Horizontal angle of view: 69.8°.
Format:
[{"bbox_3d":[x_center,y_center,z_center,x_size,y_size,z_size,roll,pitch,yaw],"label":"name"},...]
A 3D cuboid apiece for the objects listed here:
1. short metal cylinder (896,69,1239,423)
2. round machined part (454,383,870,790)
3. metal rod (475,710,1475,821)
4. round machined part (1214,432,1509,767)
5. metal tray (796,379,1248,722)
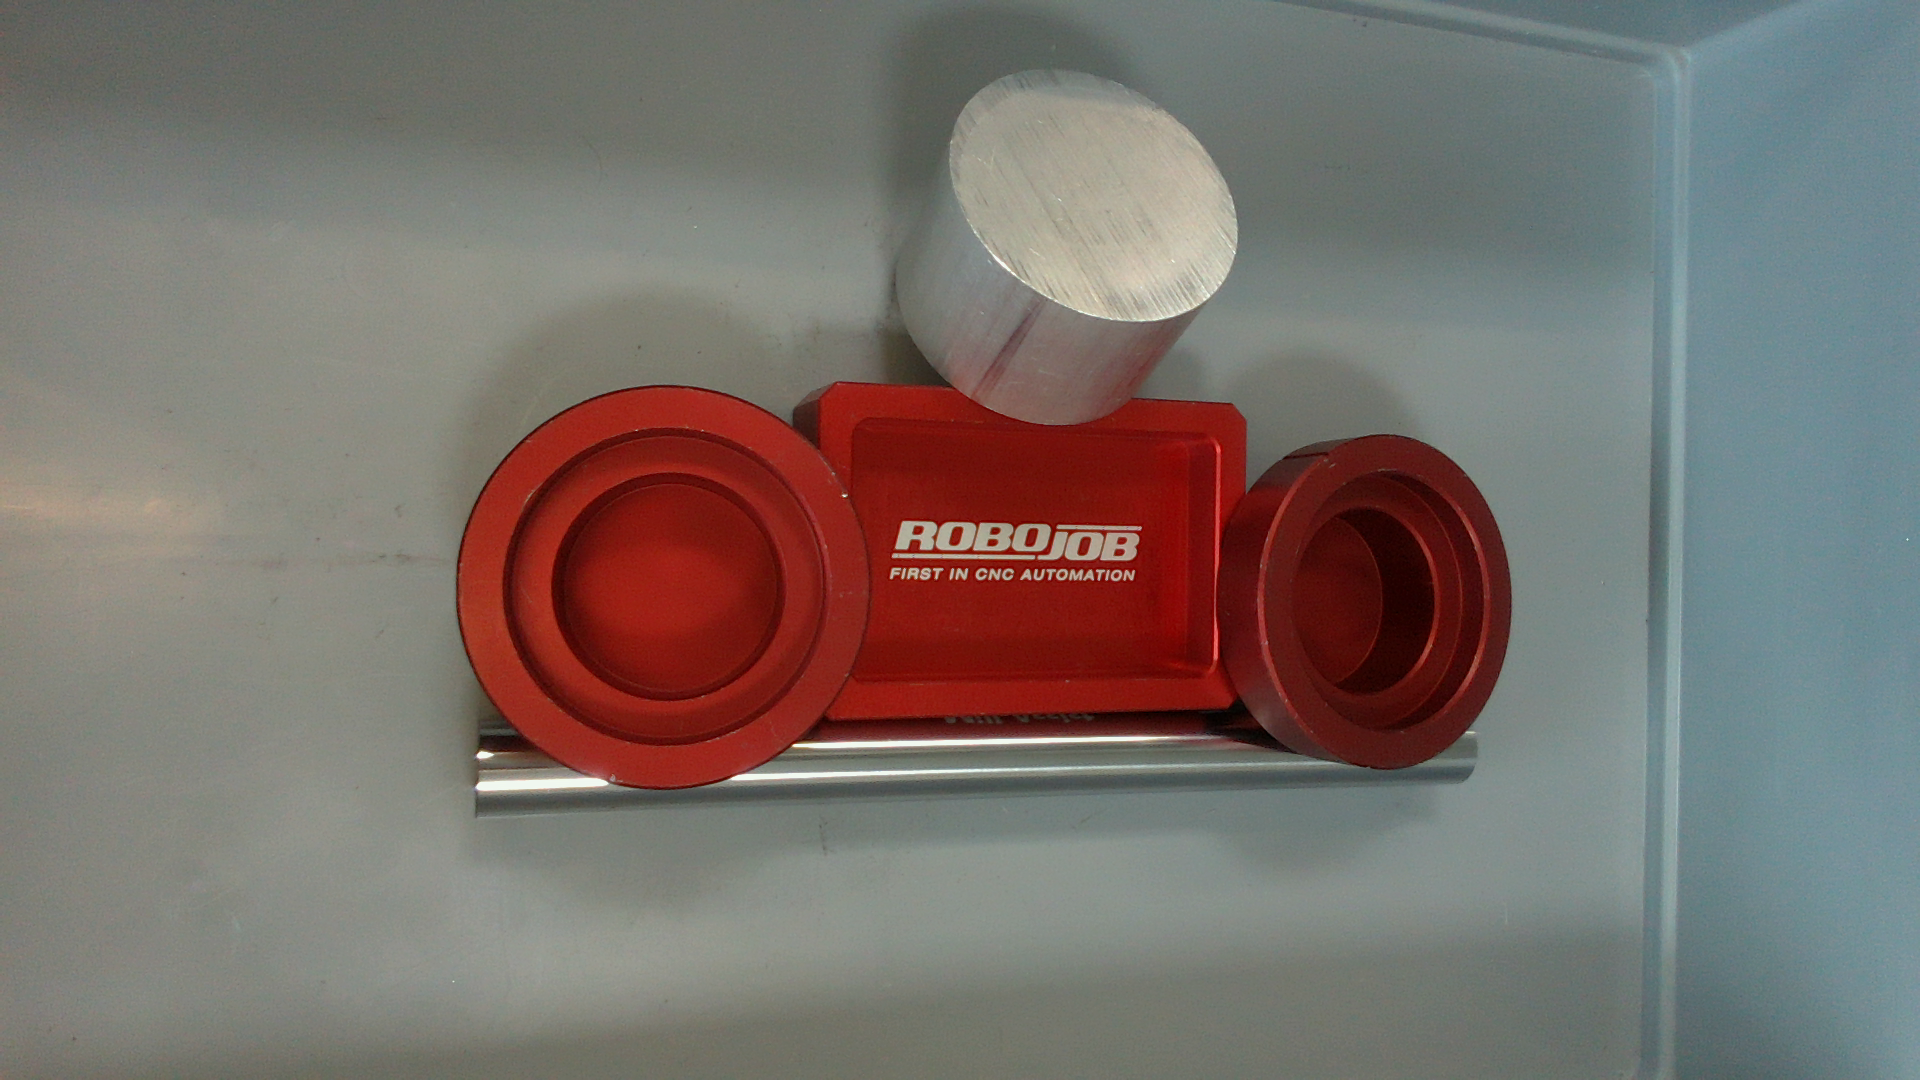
[{"bbox_3d":[0.028,-0.079,0.373,0.080,0.050,0.080,9,61,-16],"label":"short metal cylinder"},{"bbox_3d":[-0.074,0.012,0.351,0.098,0.042,0.098,1,87,-12],"label":"round machined part"},{"bbox_3d":[0.019,0.063,0.399,0.301,0.025,0.025,2,90,-20],"label":"metal rod"},{"bbox_3d":[0.117,0.018,0.421,0.098,0.042,0.098,1,88,-27],"label":"round machined part"},{"bbox_3d":[0.018,0.003,0.395,0.130,0.030,0.090,1,90,-20],"label":"metal tray"}]
